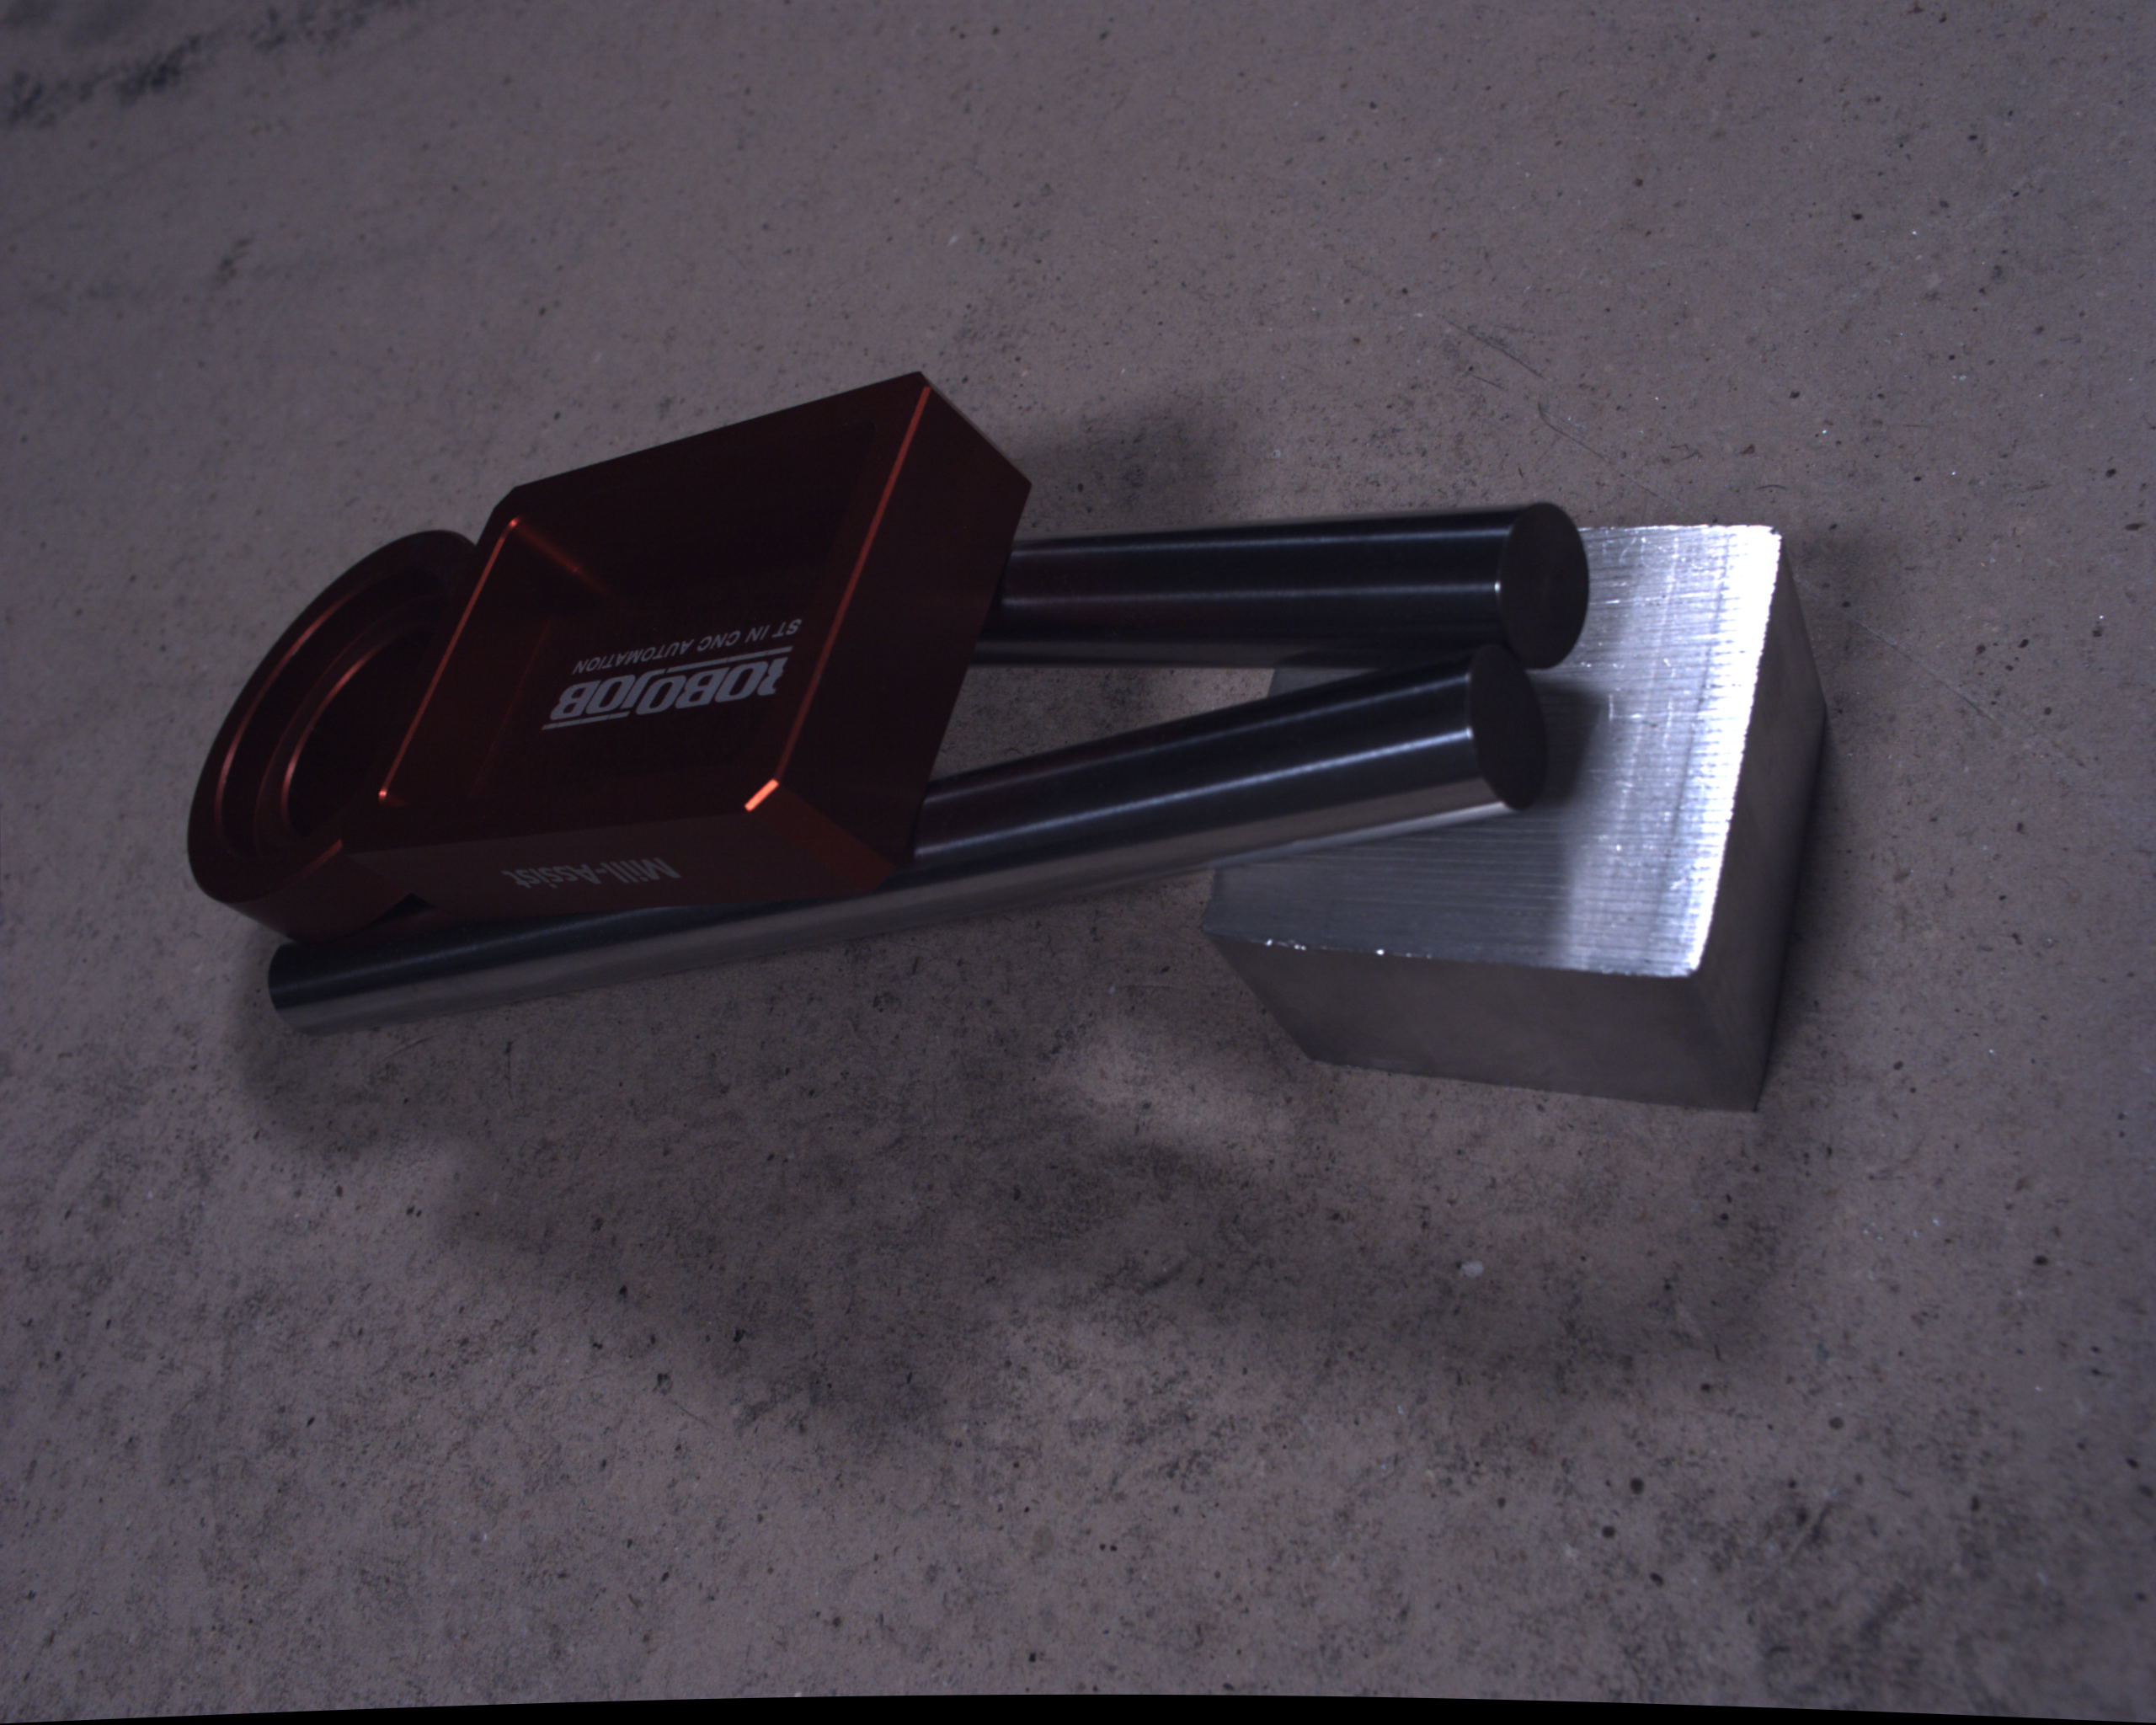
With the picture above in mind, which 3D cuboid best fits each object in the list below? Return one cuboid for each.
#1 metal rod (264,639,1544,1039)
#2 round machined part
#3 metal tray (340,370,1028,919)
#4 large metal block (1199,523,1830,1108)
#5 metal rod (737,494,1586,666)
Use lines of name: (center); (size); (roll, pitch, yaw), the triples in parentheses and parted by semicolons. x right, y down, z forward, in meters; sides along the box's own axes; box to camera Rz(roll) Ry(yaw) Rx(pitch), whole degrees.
metal rod: (-0.057, 0.004, 0.390); (0.300, 0.025, 0.025); (-12, 56, 36)
round machined part: (-0.156, -0.025, 0.482); (0.098, 0.042, 0.098); (-21, 50, 27)
metal tray: (-0.078, -0.038, 0.398); (0.130, 0.030, 0.090); (-4, 59, 40)
large metal block: (0.076, -0.009, 0.352); (0.080, 0.050, 0.080); (4, 64, 29)
metal rod: (-0.039, -0.051, 0.414); (0.300, 0.025, 0.025); (5, 64, 44)
